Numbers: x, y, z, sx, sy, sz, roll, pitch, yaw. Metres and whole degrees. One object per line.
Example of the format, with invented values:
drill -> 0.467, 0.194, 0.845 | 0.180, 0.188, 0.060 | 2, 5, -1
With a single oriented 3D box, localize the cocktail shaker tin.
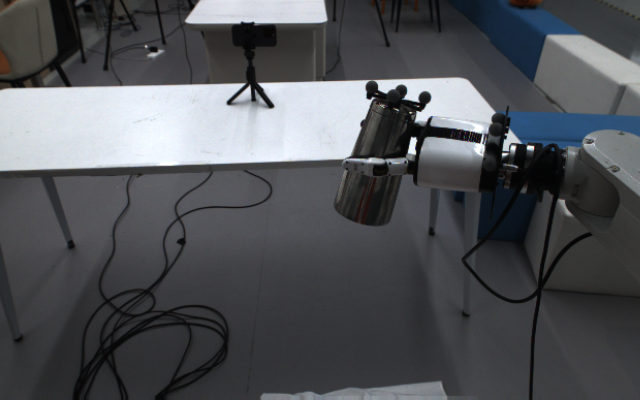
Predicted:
cocktail shaker tin -> 0.086, -0.061, 0.713 | 0.093, 0.170, 0.093 | 12, 24, -5
